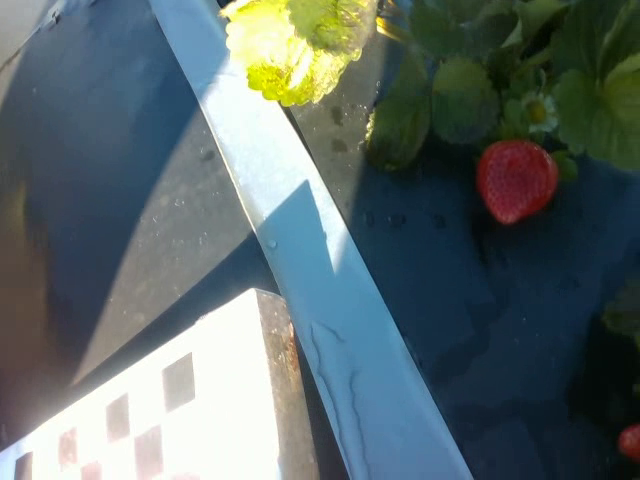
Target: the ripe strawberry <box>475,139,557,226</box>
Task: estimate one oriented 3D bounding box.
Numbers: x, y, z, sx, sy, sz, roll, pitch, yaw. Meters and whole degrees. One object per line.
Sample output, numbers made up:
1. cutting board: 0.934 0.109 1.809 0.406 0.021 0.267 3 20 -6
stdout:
1. ripe strawberry: 0.097 -0.027 0.319 0.046 0.058 0.042 -5 -40 43
